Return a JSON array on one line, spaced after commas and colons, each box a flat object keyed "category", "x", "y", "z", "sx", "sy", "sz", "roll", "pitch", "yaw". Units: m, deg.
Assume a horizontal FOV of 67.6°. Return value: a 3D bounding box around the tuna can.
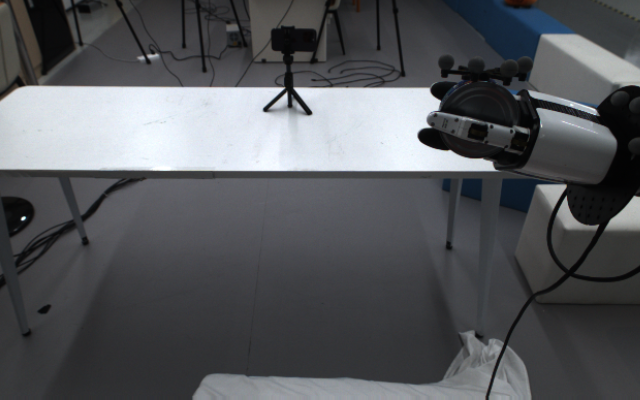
[{"category": "tuna can", "x": 0.176, "y": -0.094, "z": 0.544, "sx": 0.085, "sy": 0.085, "sz": 0.034, "roll": 9, "pitch": 23, "yaw": 10}]
